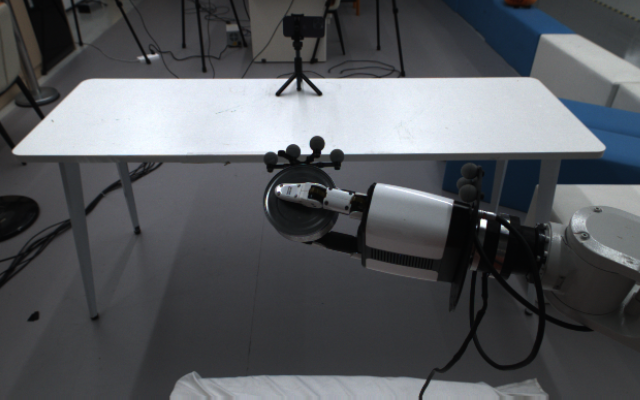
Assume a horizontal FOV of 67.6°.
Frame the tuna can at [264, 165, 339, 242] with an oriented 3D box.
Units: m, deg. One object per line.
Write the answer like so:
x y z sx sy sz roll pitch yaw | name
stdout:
-0.018 0.009 0.554 0.085 0.034 0.085 -2 69 6 | tuna can
